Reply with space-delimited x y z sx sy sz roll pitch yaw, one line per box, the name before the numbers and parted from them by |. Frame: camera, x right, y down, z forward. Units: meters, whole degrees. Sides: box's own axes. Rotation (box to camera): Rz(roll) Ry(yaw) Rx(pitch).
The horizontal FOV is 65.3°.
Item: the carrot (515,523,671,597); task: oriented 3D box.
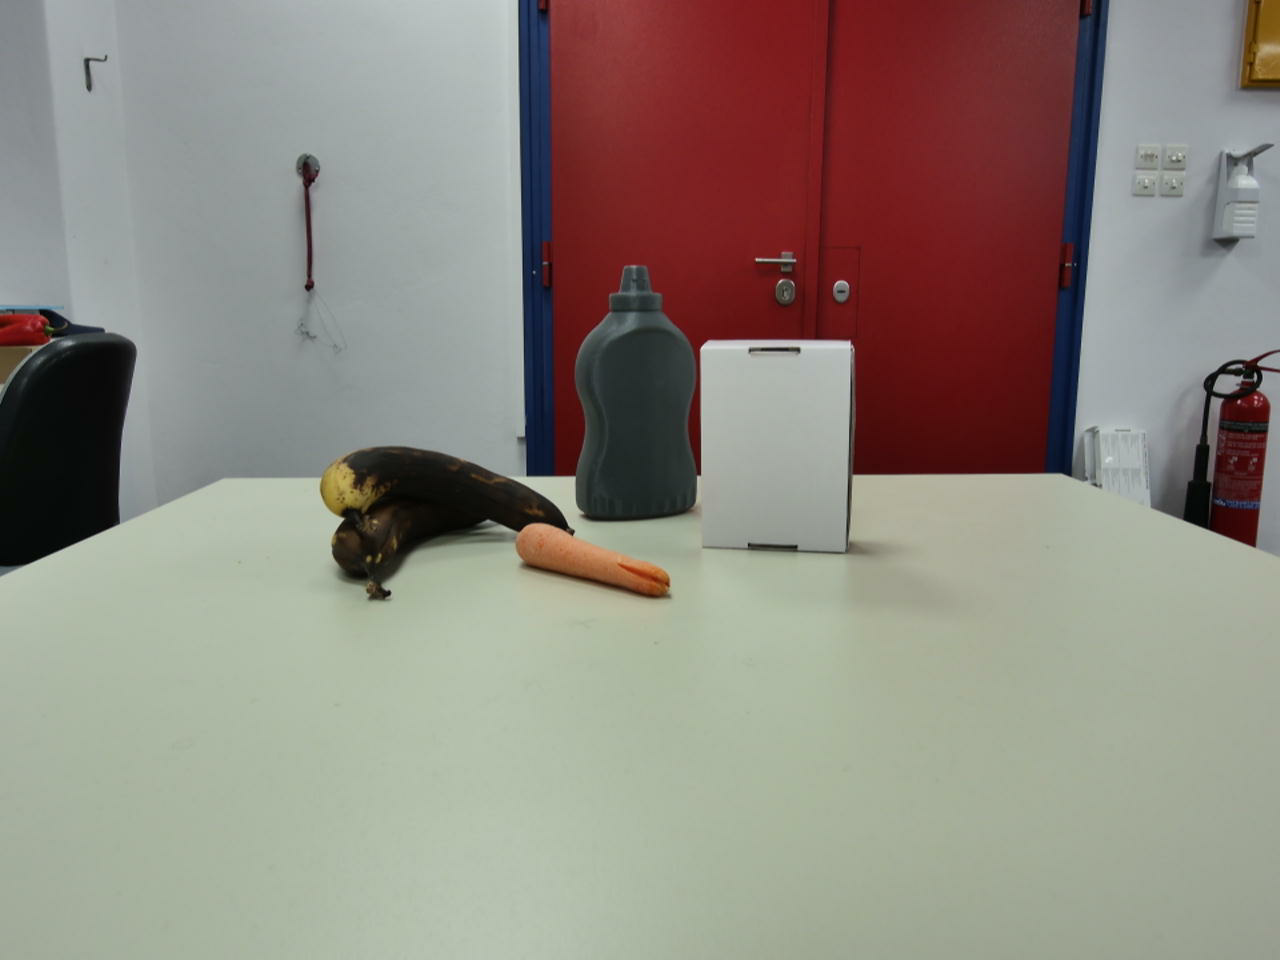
carrot | -0.034 0.049 0.646 0.136 0.032 0.030 9 11 44
